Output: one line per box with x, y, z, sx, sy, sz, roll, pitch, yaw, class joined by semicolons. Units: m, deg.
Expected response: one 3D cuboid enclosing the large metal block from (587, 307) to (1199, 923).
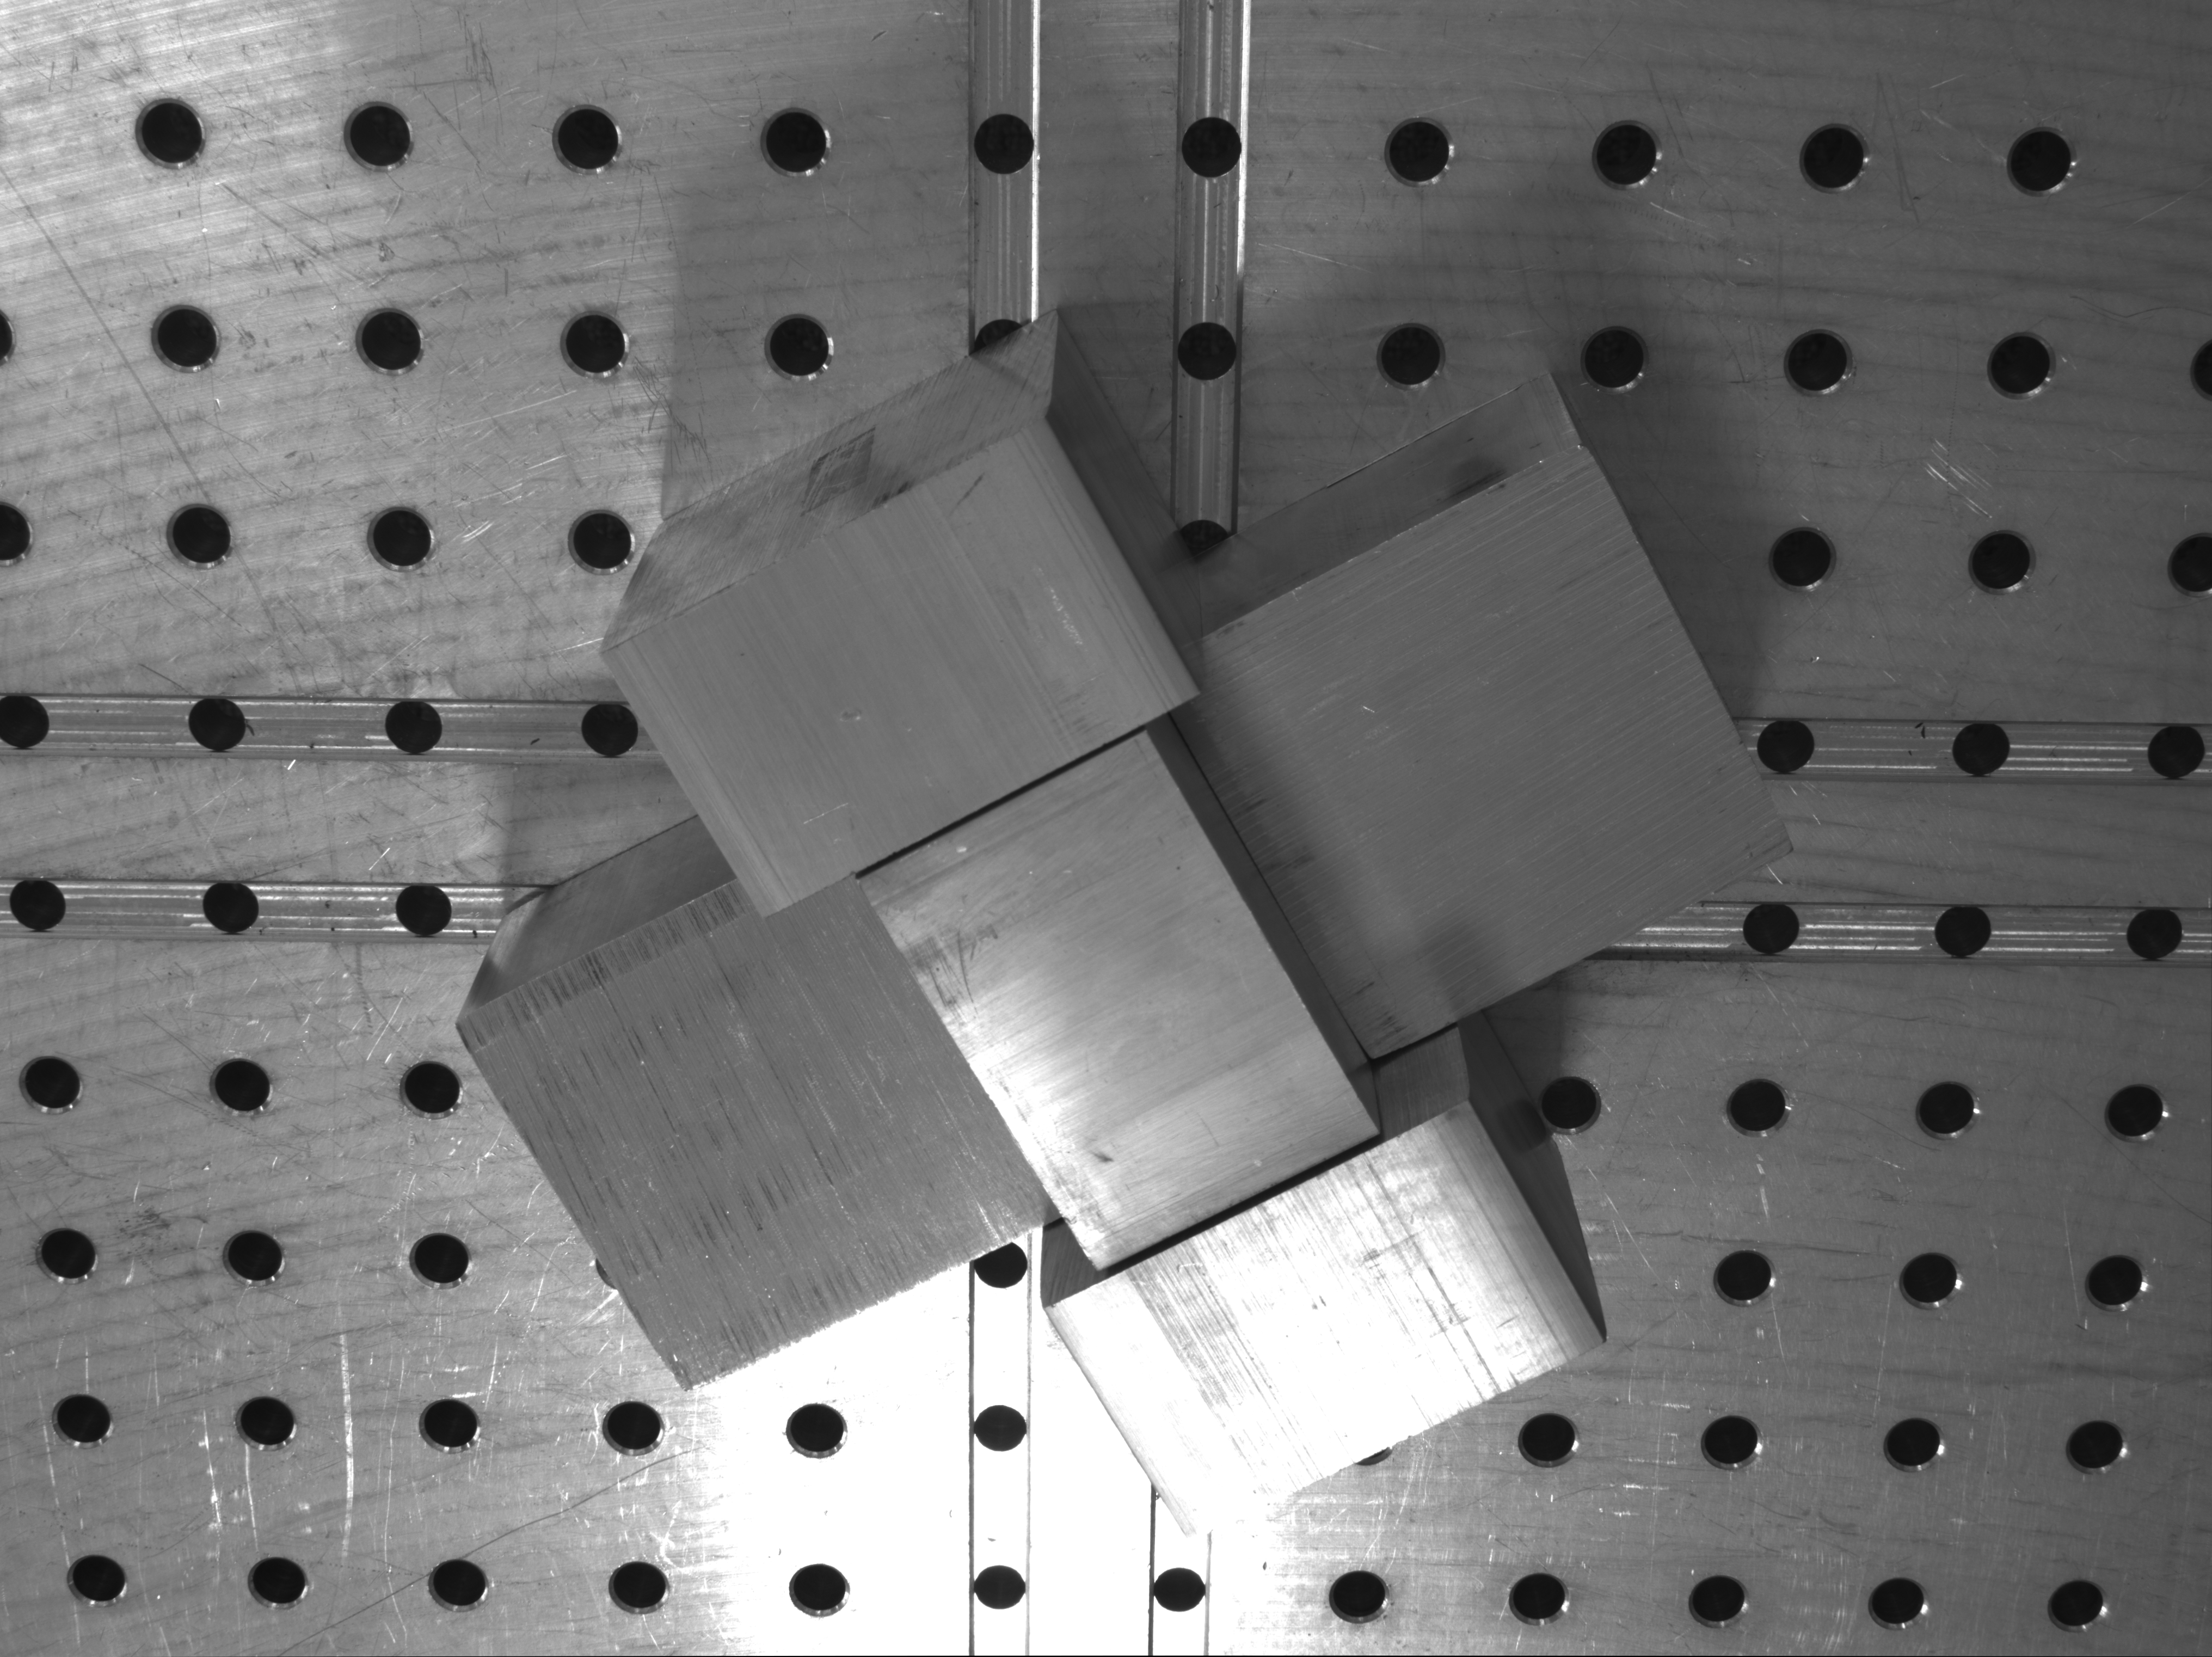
-0.032;-0.037;0.603;0.080;0.080;0.050;-27;107;10;large metal block

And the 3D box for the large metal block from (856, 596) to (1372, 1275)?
0.002;0.015;0.623;0.050;0.080;0.080;-27;108;10;large metal block

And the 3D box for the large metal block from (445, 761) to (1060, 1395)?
-0.058;0.040;0.649;0.080;0.050;0.080;-25;108;9;large metal block

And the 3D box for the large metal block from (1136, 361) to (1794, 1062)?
0.059;-0.020;0.625;0.080;0.050;0.080;-27;110;10;large metal block

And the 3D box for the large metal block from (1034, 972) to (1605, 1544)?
0.035;0.068;0.642;0.080;0.080;0.050;-28;107;9;large metal block
